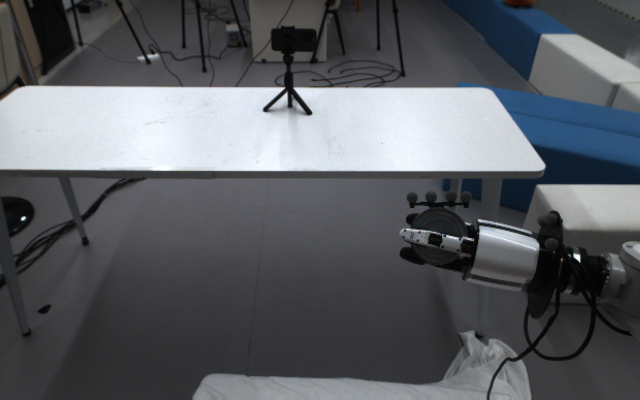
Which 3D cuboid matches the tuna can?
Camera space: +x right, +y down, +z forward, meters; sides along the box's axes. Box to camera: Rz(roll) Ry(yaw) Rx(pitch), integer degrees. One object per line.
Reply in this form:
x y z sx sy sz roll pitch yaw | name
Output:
0.181 0.053 0.737 0.085 0.085 0.034 15 2 18 | tuna can
